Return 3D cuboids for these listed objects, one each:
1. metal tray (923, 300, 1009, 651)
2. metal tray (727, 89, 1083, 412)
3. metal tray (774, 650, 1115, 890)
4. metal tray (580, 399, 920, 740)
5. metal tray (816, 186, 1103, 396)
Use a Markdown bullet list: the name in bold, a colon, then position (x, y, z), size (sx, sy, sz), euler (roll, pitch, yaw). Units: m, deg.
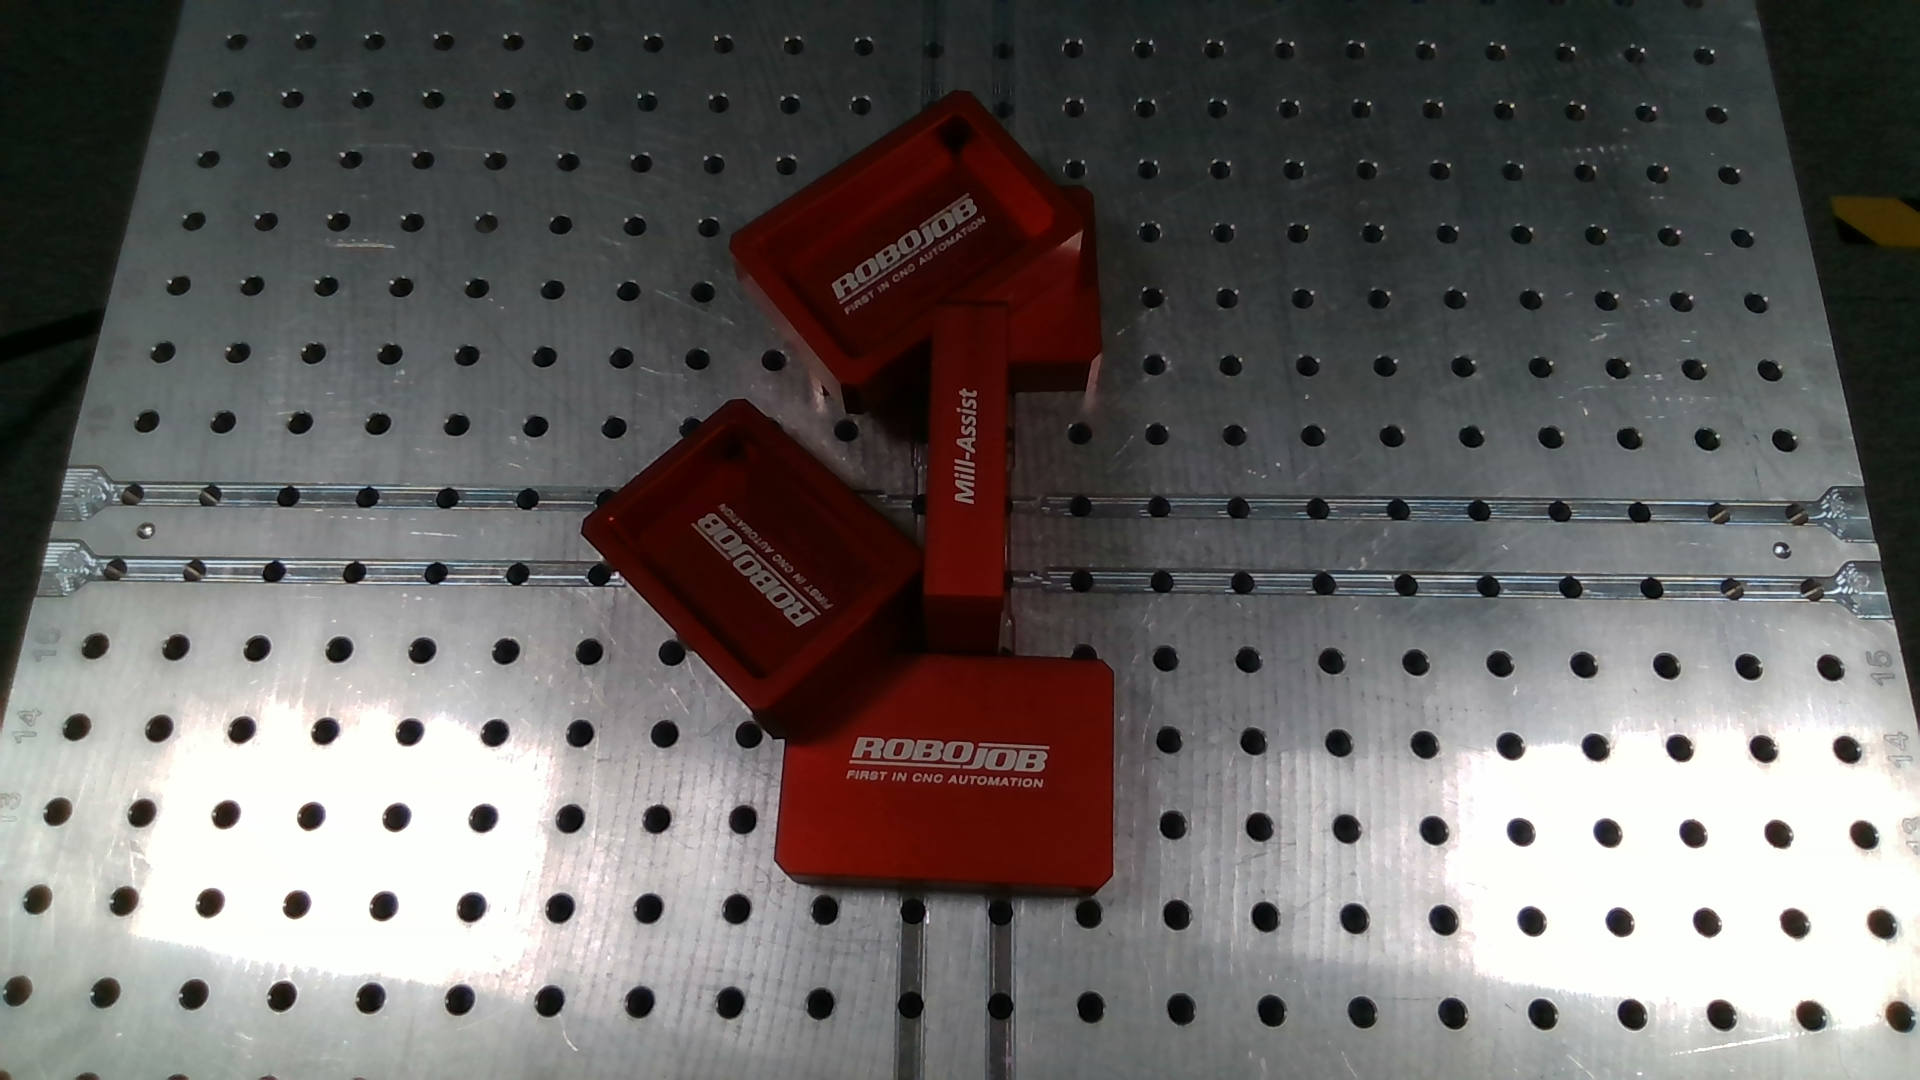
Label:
- **metal tray**: position (0.003, -0.021, 0.563), size (0.030, 0.090, 0.130), euler (1, 70, 0)
- **metal tray**: position (-0.023, -0.127, 0.600), size (0.130, 0.030, 0.090), euler (-36, 75, -12)
- **metal tray**: position (-0.005, 0.092, 0.554), size (0.130, 0.030, 0.090), euler (3, 70, 1)
- **metal tray**: position (-0.084, 0.008, 0.565), size (0.090, 0.030, 0.130), euler (-42, 58, -13)
- **metal tray**: position (-0.003, -0.114, 0.629), size (0.130, 0.030, 0.090), euler (-1, 70, 0)
